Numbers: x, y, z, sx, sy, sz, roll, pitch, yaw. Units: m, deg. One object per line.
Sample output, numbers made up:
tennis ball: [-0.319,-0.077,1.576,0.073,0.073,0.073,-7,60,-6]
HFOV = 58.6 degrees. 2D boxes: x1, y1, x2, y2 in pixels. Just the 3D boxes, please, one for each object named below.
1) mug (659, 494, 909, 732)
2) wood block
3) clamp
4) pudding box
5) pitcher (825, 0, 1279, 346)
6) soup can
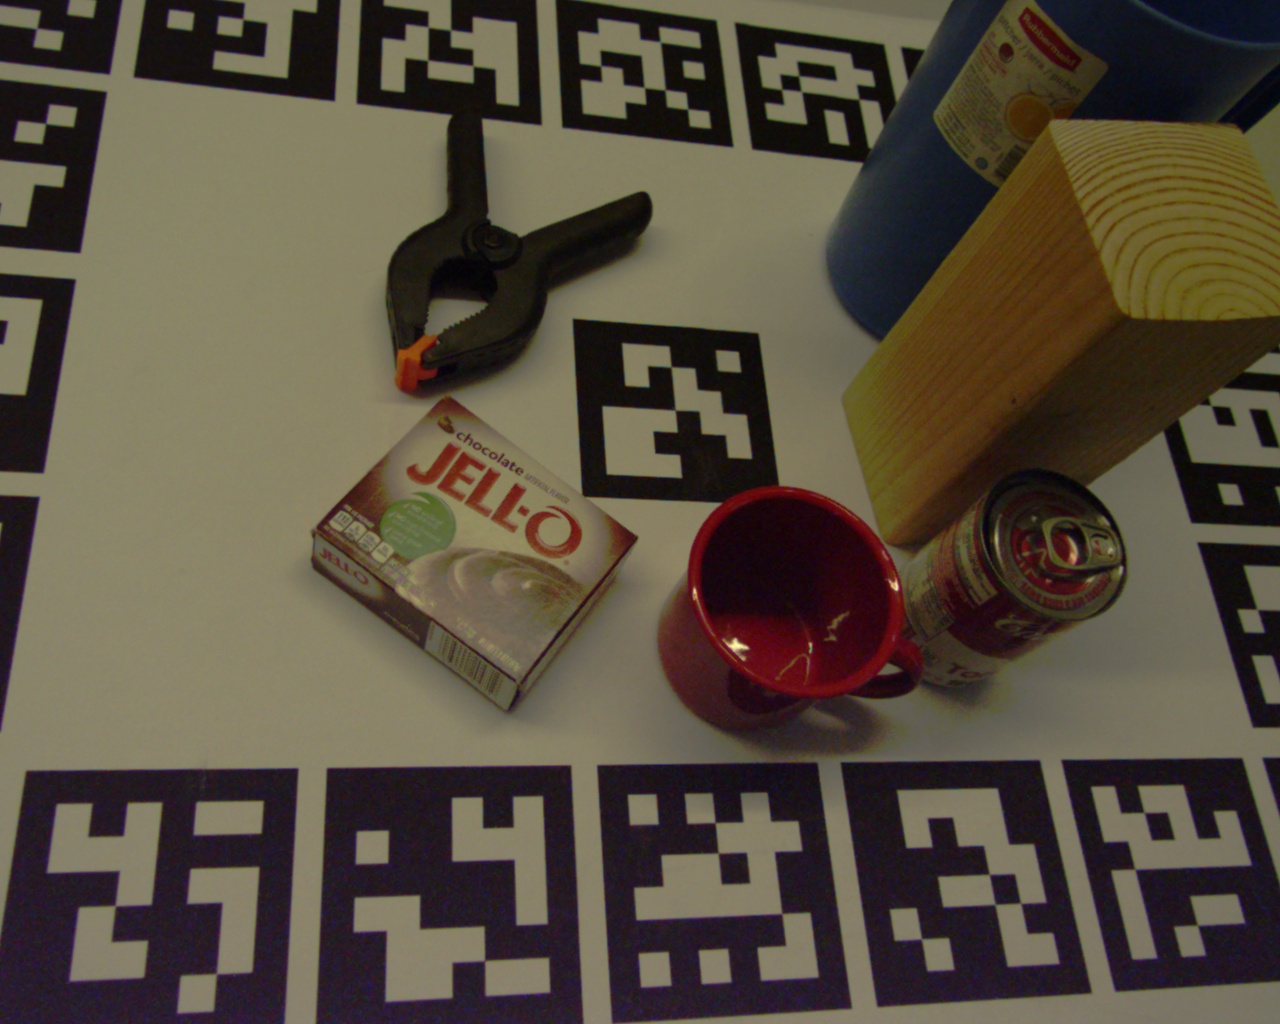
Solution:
mug: [0.067,0.058,0.522,0.117,0.082,0.093,32,59,4]
wood block: [0.178,-0.067,0.537,0.089,0.207,0.091,-1,65,-19]
clamp: [-0.077,-0.121,0.608,0.121,0.037,0.165,30,62,-7]
pudding box: [-0.081,0.023,0.531,0.114,0.039,0.089,34,65,5]
pitcher: [0.193,-0.184,0.580,0.188,0.243,0.134,-1,63,-12]
soup can: [0.157,0.036,0.542,0.067,0.102,0.068,5,66,-12]
